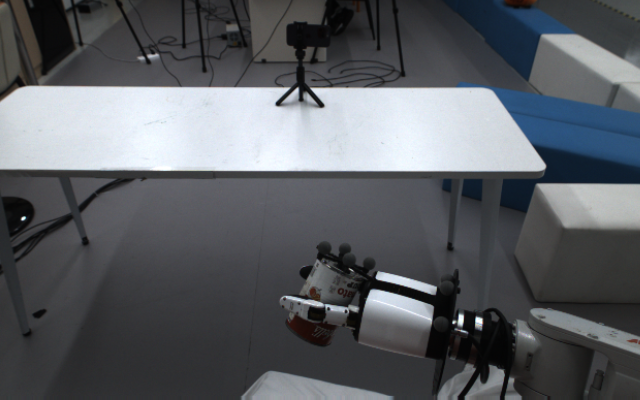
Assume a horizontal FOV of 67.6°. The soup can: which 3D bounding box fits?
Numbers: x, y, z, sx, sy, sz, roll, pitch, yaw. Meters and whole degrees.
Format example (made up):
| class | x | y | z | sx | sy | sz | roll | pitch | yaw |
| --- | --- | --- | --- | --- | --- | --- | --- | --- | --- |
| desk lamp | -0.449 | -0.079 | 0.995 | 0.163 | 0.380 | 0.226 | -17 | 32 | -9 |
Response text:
| class | x | y | z | sx | sy | sz | roll | pitch | yaw |
| --- | --- | --- | --- | --- | --- | --- | --- | --- | --- |
| soup can | 0.007 | 0.131 | 0.638 | 0.067 | 0.101 | 0.067 | 26 | 6 | -3 |
